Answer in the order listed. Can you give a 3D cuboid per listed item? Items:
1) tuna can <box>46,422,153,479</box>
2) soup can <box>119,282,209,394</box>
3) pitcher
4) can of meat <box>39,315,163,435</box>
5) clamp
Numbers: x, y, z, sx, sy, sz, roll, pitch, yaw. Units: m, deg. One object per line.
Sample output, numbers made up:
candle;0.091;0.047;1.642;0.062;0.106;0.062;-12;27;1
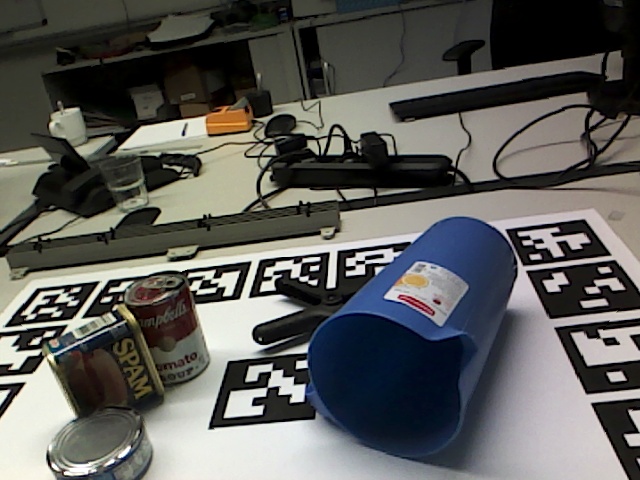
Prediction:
tuna can;-0.194;0.205;0.550;0.086;0.033;0.086;-9;28;4
soup can;-0.166;0.106;0.667;0.068;0.101;0.068;-11;27;5
pitcher;0.094;0.076;0.581;0.190;0.133;0.242;-21;10;34
can of meat;-0.215;0.139;0.609;0.083;0.101;0.058;-28;31;-24
clamp;-0.003;0.095;0.719;0.165;0.036;0.122;-4;23;7
